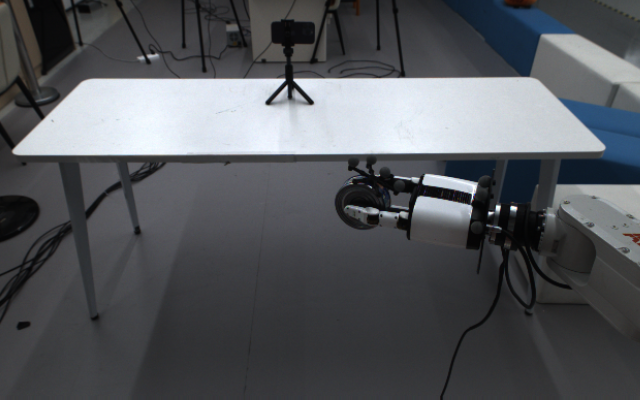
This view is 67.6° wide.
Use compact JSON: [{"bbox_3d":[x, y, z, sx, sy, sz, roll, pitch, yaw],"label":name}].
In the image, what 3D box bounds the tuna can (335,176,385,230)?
[{"bbox_3d":[0.071,0.011,0.772,0.085,0.085,0.034,15,31,18],"label":"tuna can"}]
